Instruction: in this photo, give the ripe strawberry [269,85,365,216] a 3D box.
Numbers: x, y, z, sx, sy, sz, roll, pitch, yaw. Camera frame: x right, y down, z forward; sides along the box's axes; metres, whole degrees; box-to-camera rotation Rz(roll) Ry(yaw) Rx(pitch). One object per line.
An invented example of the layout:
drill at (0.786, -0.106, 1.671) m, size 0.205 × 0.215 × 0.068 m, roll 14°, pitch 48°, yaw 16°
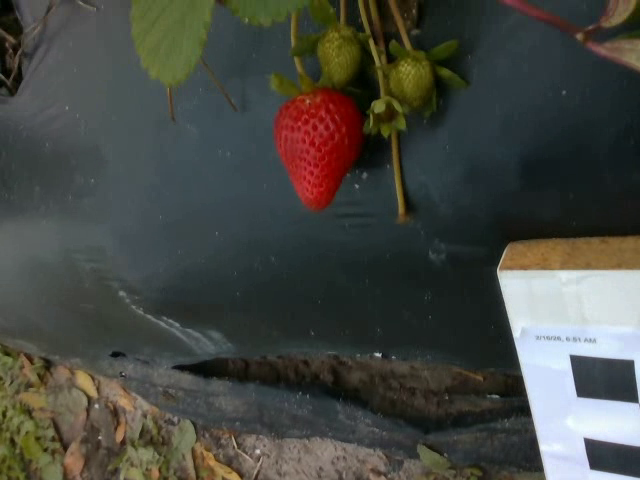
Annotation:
ripe strawberry at (-0.001, -0.010, 0.072) m, size 0.018 × 0.017 × 0.014 m, roll -3°, pitch -11°, yaw 23°
